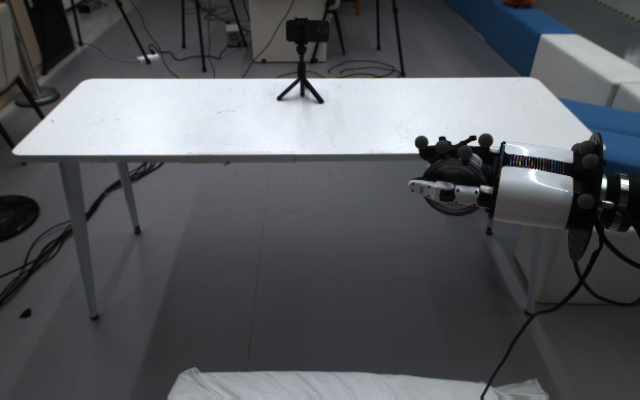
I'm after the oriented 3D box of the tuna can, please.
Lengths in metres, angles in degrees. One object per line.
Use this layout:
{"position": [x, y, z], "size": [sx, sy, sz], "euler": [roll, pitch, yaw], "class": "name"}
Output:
{"position": [0.182, -0.025, 0.643], "size": [0.085, 0.085, 0.034], "euler": [15, 34, 17], "class": "tuna can"}
